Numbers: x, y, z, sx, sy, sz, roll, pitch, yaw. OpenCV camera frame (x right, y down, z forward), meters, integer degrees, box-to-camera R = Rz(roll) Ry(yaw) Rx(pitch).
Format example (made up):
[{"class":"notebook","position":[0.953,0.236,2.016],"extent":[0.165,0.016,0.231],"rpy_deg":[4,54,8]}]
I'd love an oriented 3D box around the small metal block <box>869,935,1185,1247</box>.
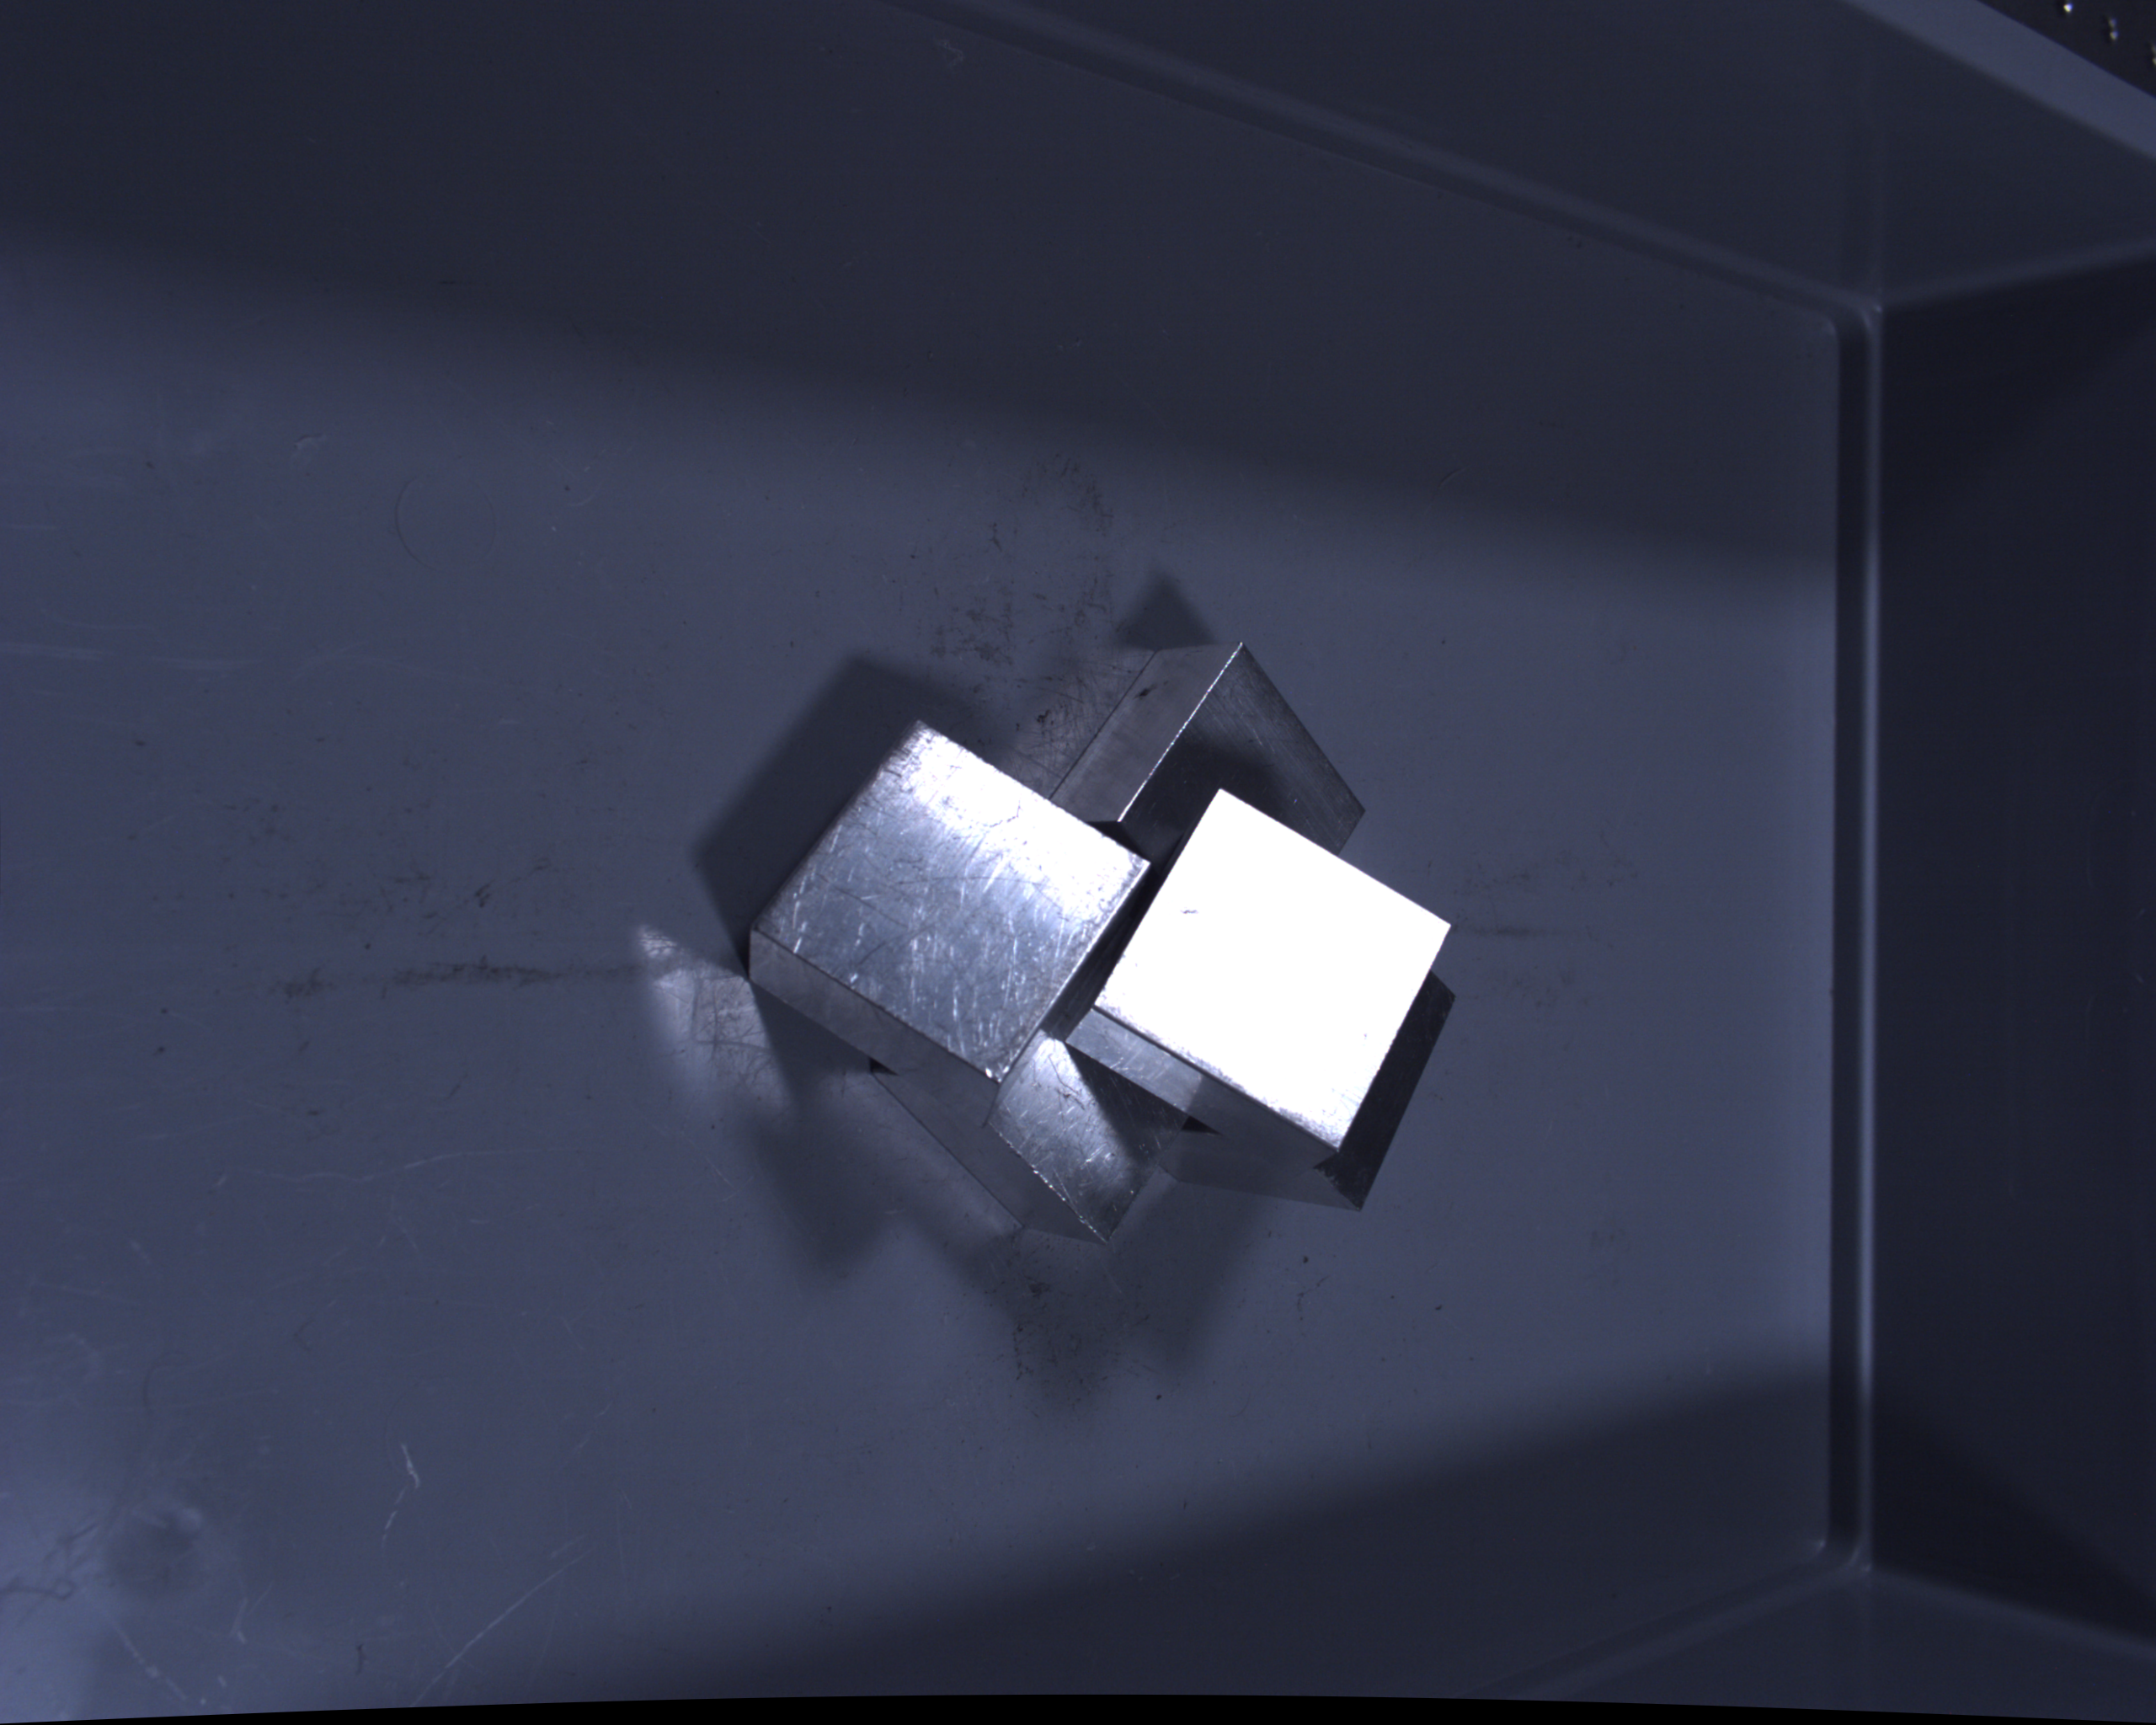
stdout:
[{"class":"small metal block","position":[-0.004,0.038,0.403],"extent":[0.050,0.025,0.050],"rpy_deg":[50,60,-29]}]

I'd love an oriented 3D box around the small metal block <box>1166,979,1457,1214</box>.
[{"class":"small metal block","position":[0.042,0.040,0.425],"extent":[0.025,0.050,0.050],"rpy_deg":[43,64,-32]}]

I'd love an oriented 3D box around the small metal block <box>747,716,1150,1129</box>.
[{"class":"small metal block","position":[-0.023,0.011,0.371],"extent":[0.050,0.025,0.050],"rpy_deg":[32,65,6]}]

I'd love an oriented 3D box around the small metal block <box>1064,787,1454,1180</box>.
[{"class":"small metal block","position":[0.033,0.023,0.386],"extent":[0.050,0.025,0.050],"rpy_deg":[31,67,0]}]

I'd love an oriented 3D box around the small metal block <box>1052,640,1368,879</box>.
[{"class":"small metal block","position":[0.026,-0.010,0.428],"extent":[0.050,0.025,0.050],"rpy_deg":[50,60,-29]}]
